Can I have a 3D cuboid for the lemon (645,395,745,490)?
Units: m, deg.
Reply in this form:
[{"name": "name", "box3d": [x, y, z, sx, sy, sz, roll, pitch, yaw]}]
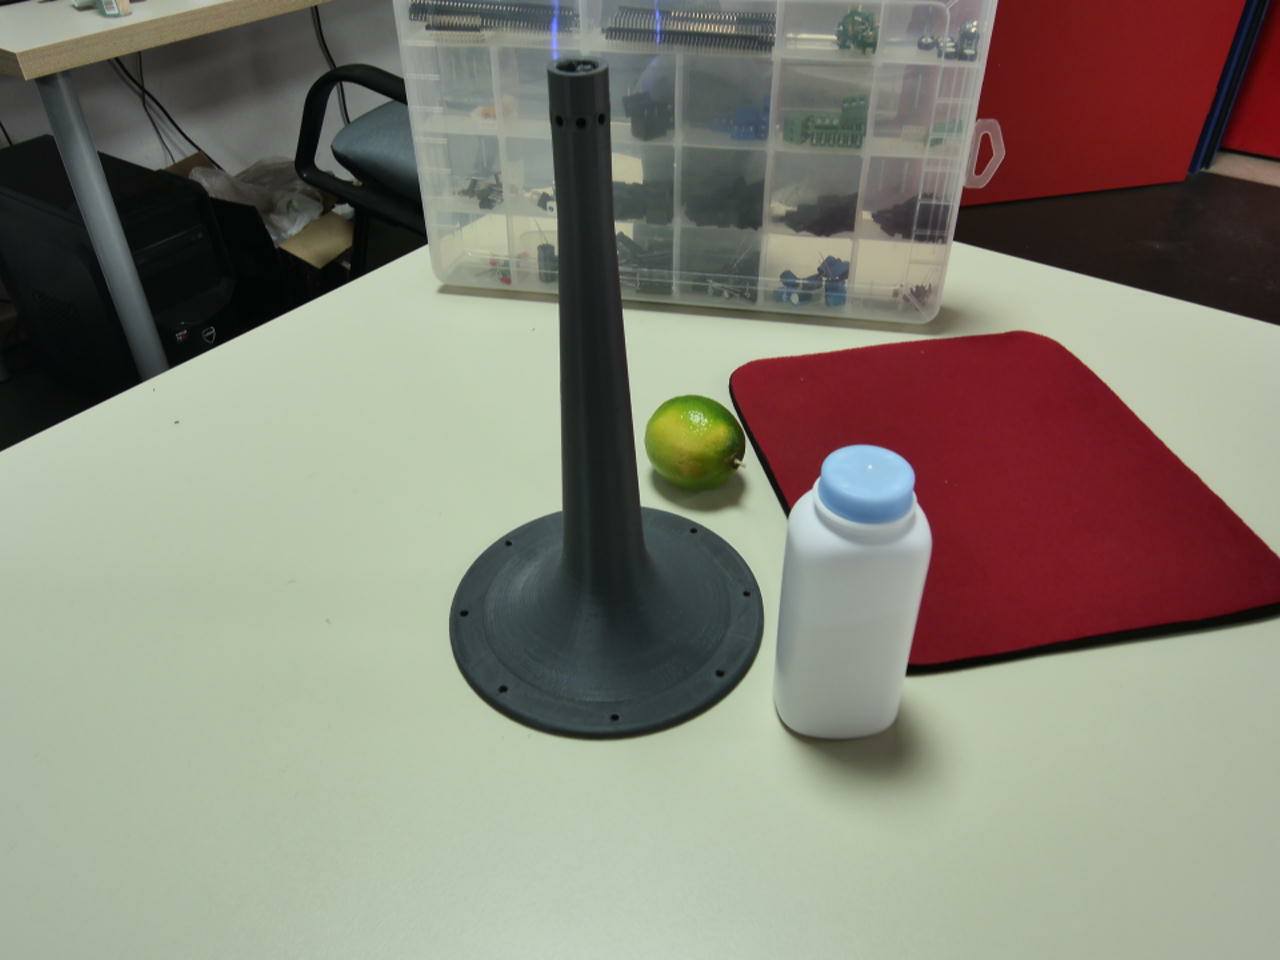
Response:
[{"name": "lemon", "box3d": [0.030, -0.021, 0.548, 0.054, 0.050, 0.055, 0, 37, -2]}]
